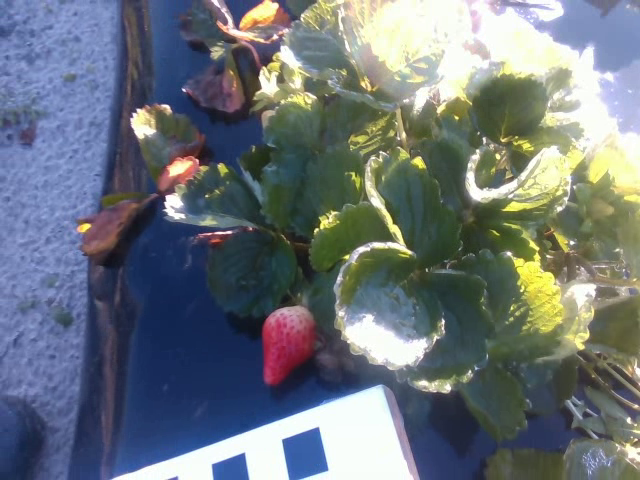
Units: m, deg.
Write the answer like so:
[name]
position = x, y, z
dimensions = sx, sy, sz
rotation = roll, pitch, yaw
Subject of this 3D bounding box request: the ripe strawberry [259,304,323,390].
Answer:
[ripe strawberry]
position = -0.031, 0.073, 0.424
dimensions = 0.040, 0.065, 0.040
rotation = 18, -14, 29
